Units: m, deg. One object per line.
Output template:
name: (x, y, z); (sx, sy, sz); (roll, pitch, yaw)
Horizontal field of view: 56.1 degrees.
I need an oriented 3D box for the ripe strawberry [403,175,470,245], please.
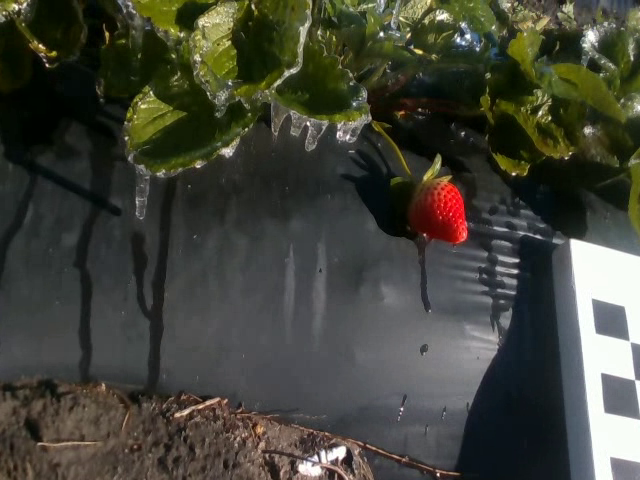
ripe strawberry: (0.075, -0.015, 0.359); (0.039, 0.053, 0.041); (-6, -41, -20)
